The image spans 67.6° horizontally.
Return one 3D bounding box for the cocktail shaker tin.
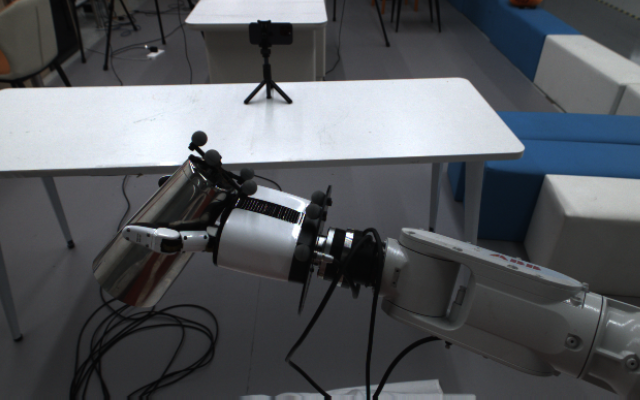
[{"bbox_3d":[-0.175,0.031,0.568,0.093,0.170,0.093,41,12,-11],"label":"cocktail shaker tin"}]
